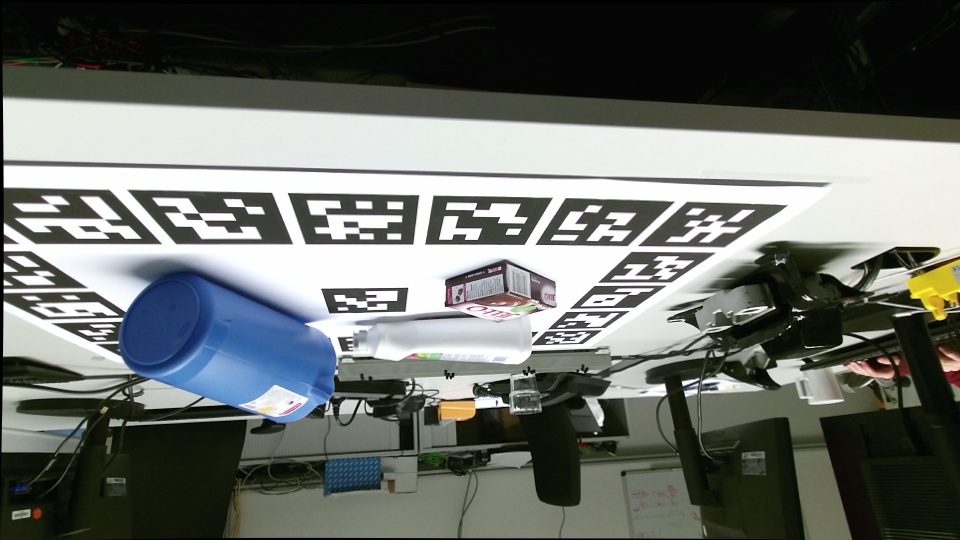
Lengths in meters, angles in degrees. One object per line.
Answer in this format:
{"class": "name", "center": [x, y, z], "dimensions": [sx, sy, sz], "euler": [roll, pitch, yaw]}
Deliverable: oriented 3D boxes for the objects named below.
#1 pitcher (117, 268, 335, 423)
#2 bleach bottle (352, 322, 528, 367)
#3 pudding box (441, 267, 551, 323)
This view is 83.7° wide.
{"class": "pitcher", "center": [-0.304, 0.091, 0.653], "dimensions": [0.189, 0.133, 0.243], "euler": [22, 163, 27]}
{"class": "bleach bottle", "center": [-0.061, 0.115, 0.794], "dimensions": [0.252, 0.067, 0.103], "euler": [-1, 152, -5]}
{"class": "pudding box", "center": [0.020, 0.037, 0.649], "dimensions": [0.090, 0.038, 0.114], "euler": [-15, 153, 34]}
